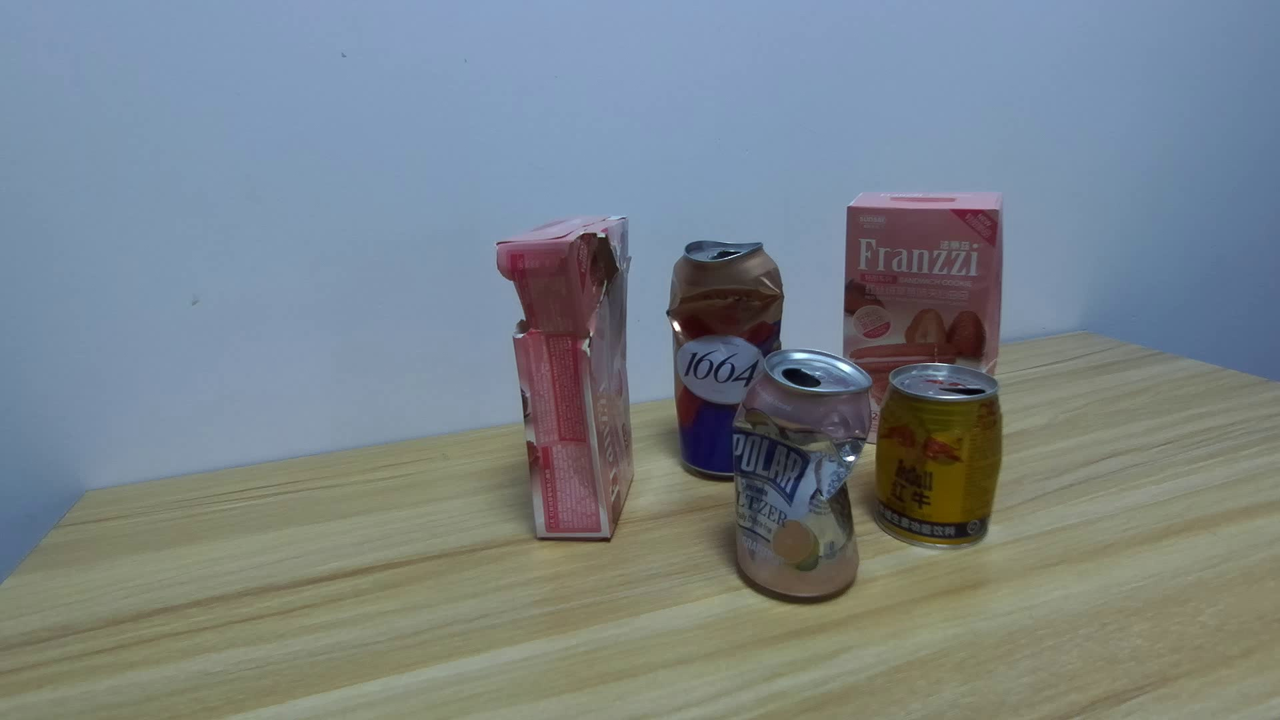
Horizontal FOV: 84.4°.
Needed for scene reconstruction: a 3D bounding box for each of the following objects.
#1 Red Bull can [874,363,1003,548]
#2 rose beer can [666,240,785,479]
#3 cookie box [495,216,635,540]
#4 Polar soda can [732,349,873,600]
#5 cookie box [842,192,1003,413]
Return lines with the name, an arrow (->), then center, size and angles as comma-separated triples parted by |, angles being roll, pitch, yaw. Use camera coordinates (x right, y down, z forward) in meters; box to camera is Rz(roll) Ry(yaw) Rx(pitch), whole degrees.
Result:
Red Bull can -> 0.176, 0.055, 0.418 | 0.069, 0.092, 0.069 | -2, 18, 1
rose beer can -> 0.060, -0.001, 0.495 | 0.074, 0.162, 0.068 | -8, 21, -10
cookie box -> -0.034, 0.009, 0.442 | 0.059, 0.186, 0.105 | 0, 19, 12
Polar soda can -> 0.089, 0.061, 0.370 | 0.067, 0.121, 0.070 | -6, 19, -28
cookie box -> 0.203, -0.022, 0.509 | 0.105, 0.188, 0.049 | 7, 27, 26
